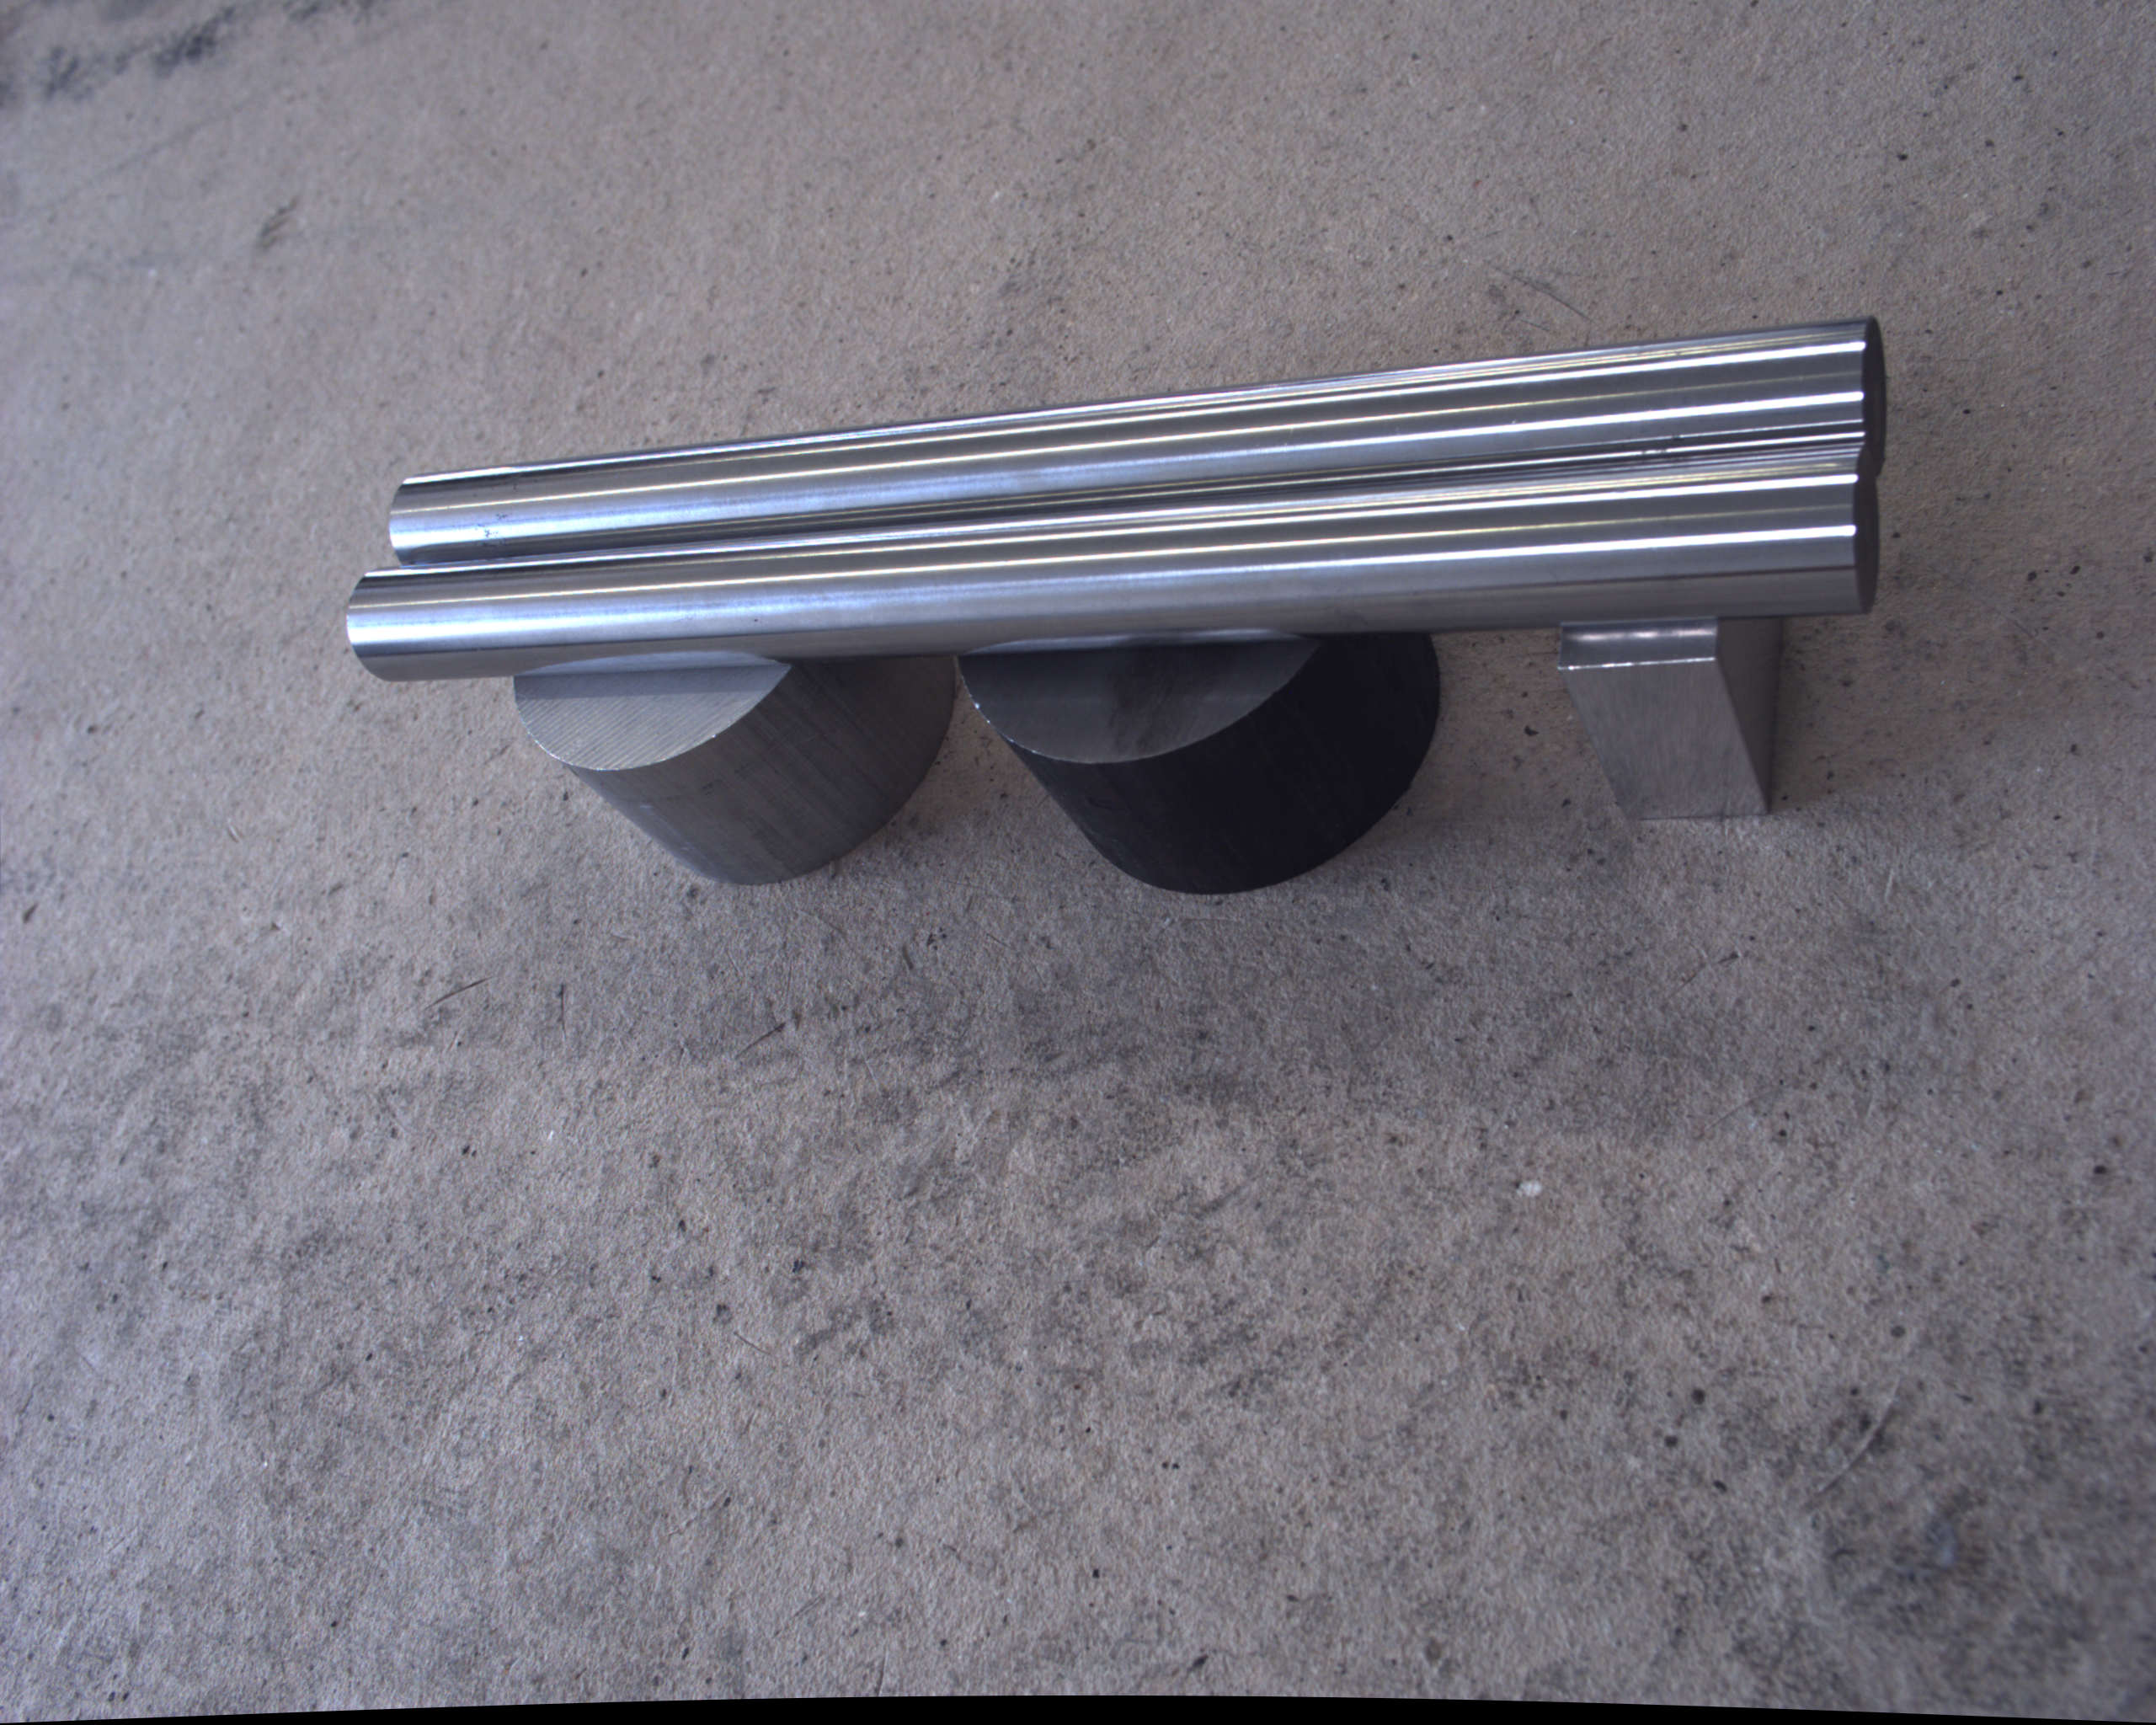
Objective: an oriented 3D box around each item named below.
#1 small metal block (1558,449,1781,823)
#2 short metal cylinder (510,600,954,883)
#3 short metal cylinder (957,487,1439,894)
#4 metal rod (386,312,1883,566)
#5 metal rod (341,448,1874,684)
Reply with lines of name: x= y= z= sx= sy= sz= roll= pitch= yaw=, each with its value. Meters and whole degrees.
small metal block: x=0.104 y=-0.041 z=0.361 sx=0.025 sy=0.050 sz=0.050 roll=-1 pitch=61 yaw=27
short metal cylinder: x=-0.074 y=-0.042 z=0.453 sx=0.080 sy=0.050 sz=0.080 roll=-13 pitch=56 yaw=21
short metal cylinder: x=0.023 y=-0.041 z=0.402 sx=0.080 sy=0.050 sz=0.080 roll=-13 pitch=56 yaw=21
metal rod: x=-0.011 y=-0.073 z=0.390 sx=0.300 sy=0.025 sz=0.025 roll=0 pitch=62 yaw=28
metal rod: x=-0.016 y=-0.050 z=0.379 sx=0.300 sy=0.025 sz=0.025 roll=0 pitch=62 yaw=28
